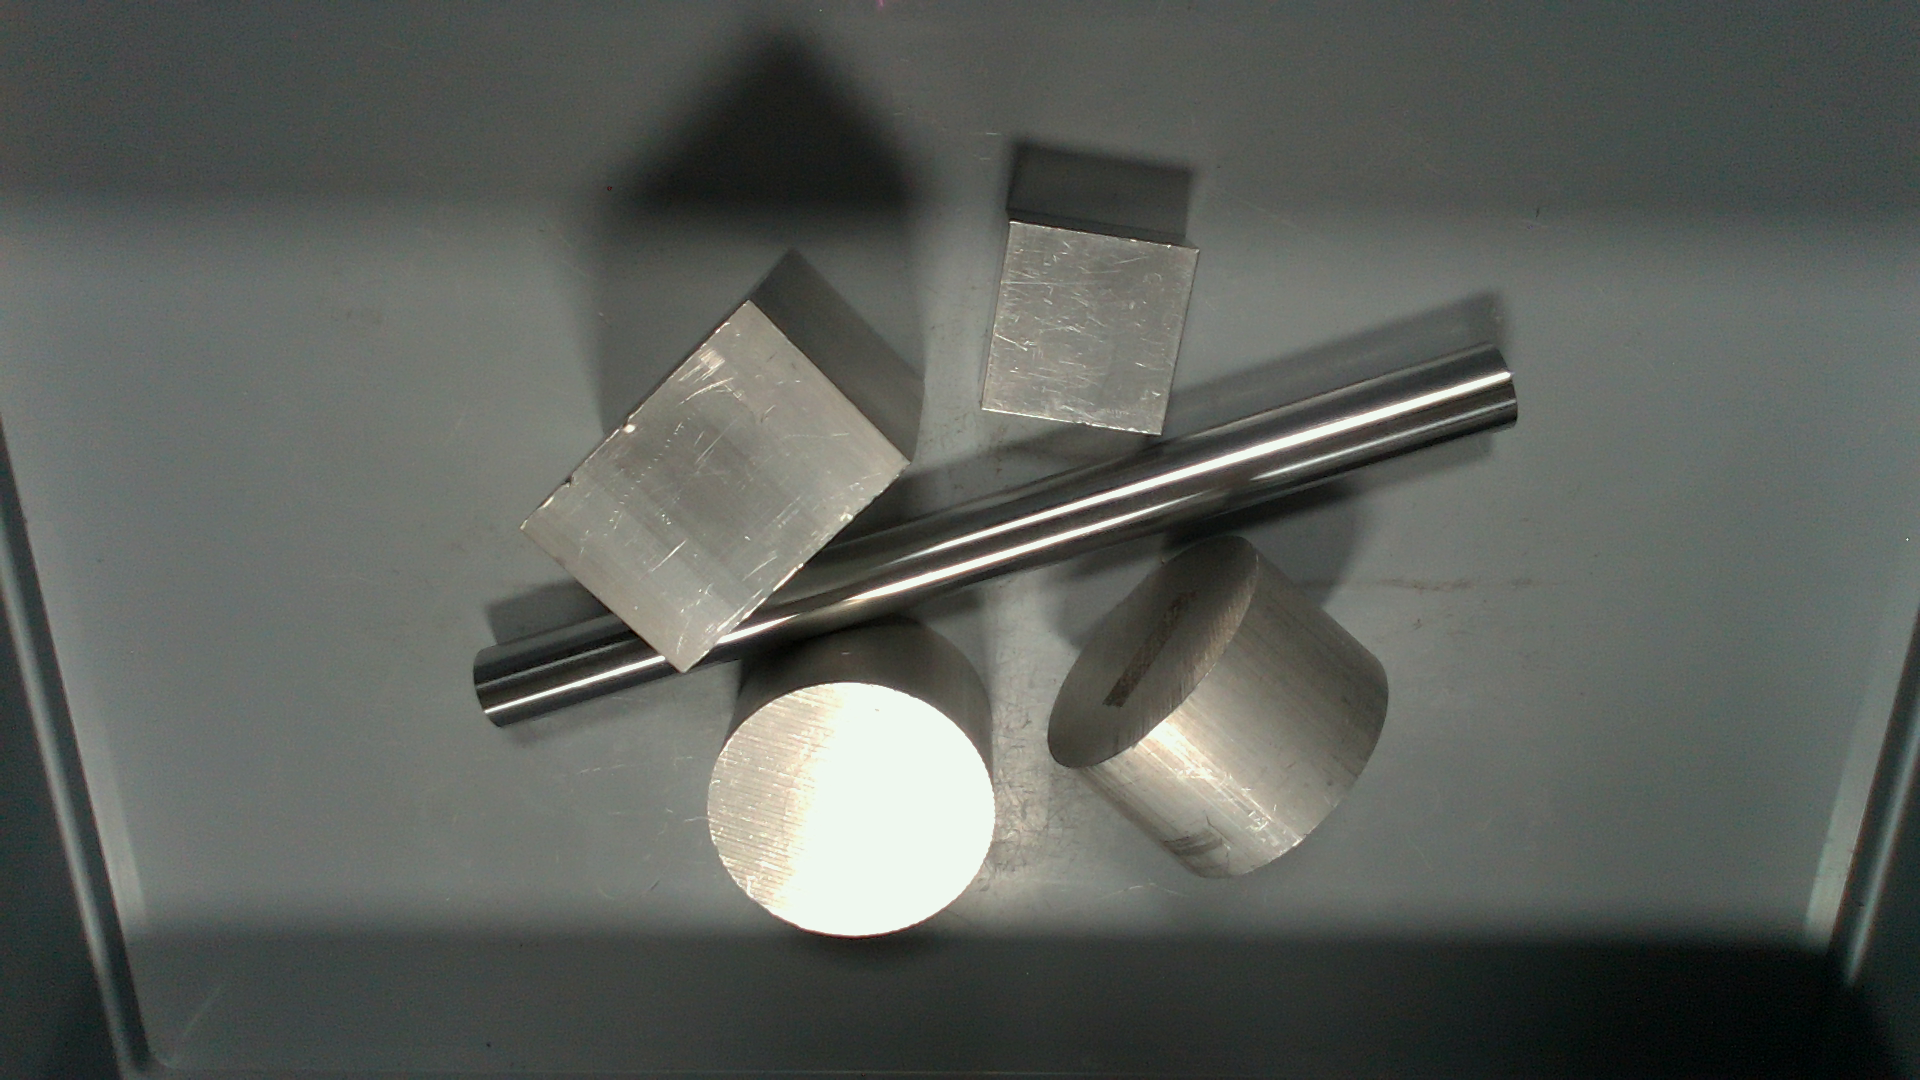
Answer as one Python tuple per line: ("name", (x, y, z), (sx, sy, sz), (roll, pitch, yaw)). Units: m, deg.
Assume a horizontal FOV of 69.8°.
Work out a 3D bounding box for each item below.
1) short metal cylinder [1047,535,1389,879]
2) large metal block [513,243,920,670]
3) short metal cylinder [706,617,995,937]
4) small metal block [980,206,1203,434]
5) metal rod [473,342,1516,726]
("short metal cylinder", (0.070, 0.045, 0.381), (0.050, 0.080, 0.080), (41, 105, -13))
("large metal block", (-0.058, -0.025, 0.355), (0.080, 0.080, 0.050), (-42, 105, 14))
("short metal cylinder", (-0.030, 0.068, 0.404), (0.080, 0.050, 0.080), (0, 110, 0))
("small metal block", (0.034, -0.060, 0.371), (0.050, 0.025, 0.050), (8, 110, -3))
("metal rod", (0.005, 0.001, 0.393), (0.300, 0.025, 0.025), (-17, 109, 6))
